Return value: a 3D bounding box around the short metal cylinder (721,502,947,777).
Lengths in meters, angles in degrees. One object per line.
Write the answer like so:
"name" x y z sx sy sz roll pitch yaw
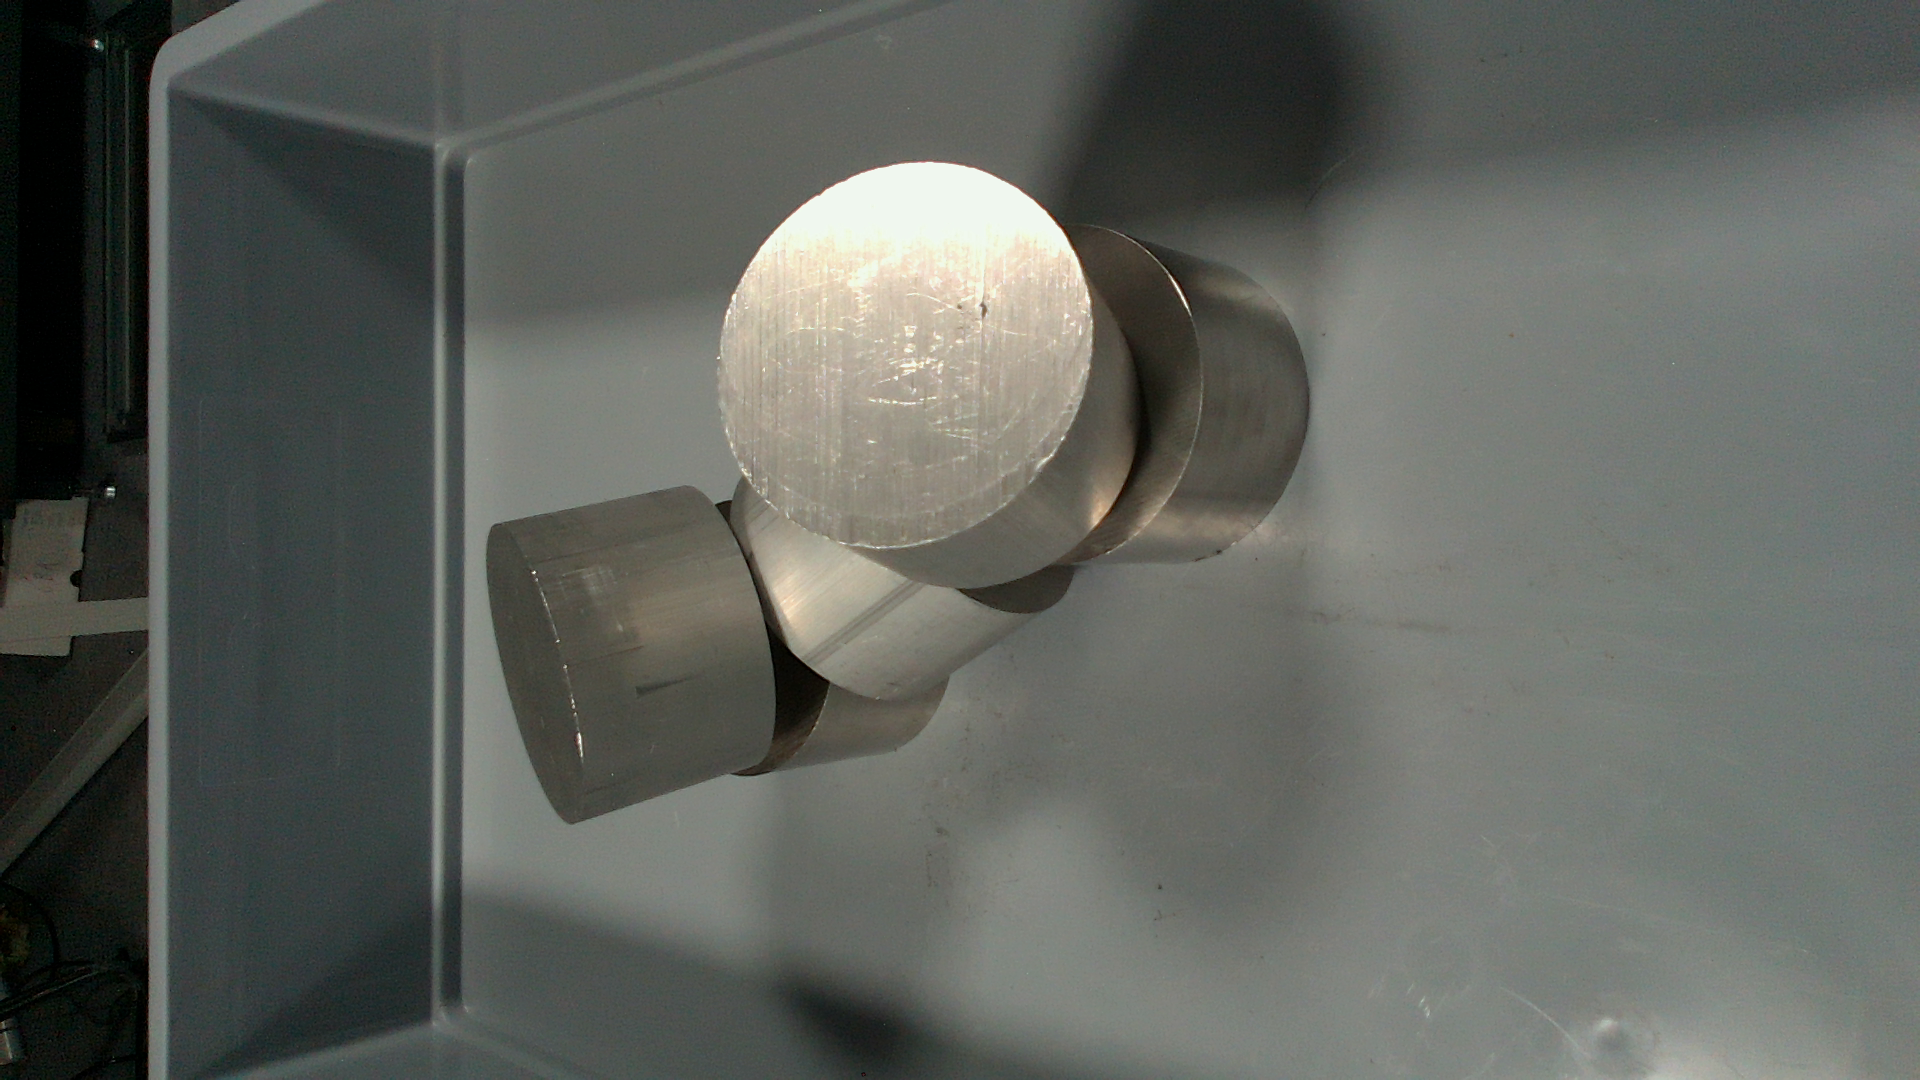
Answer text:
"short metal cylinder" -0.049 0.029 0.418 0.080 0.050 0.080 0 90 40

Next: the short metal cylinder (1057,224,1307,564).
"short metal cylinder" 0.039 -0.034 0.344 0.080 0.050 0.080 0 90 40

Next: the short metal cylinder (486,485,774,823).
"short metal cylinder" -0.090 0.029 0.368 0.080 0.050 0.080 32 129 51

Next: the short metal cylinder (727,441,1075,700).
"short metal cylinder" -0.015 -0.004 0.369 0.050 0.080 0.080 -37 67 34

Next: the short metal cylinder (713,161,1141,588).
"short metal cylinder" -0.005 -0.033 0.296 0.080 0.050 0.080 -4 77 17
